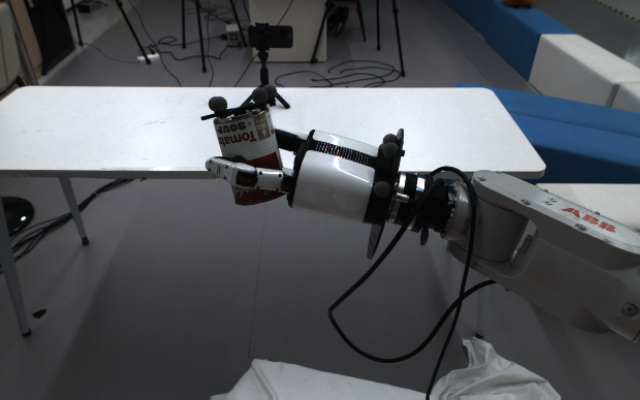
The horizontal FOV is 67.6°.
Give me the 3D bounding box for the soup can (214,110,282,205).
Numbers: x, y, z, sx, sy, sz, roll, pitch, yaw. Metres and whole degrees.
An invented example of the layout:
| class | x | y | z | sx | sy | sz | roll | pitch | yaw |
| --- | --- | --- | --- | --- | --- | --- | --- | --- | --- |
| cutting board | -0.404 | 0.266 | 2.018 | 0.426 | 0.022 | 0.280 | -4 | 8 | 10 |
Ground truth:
| class | x | y | z | sx | sy | sz | roll | pitch | yaw |
| --- | --- | --- | --- | --- | --- | --- | --- | --- | --- |
| soup can | -0.079 | -0.052 | 0.573 | 0.067 | 0.101 | 0.067 | -12 | 17 | 4 |
